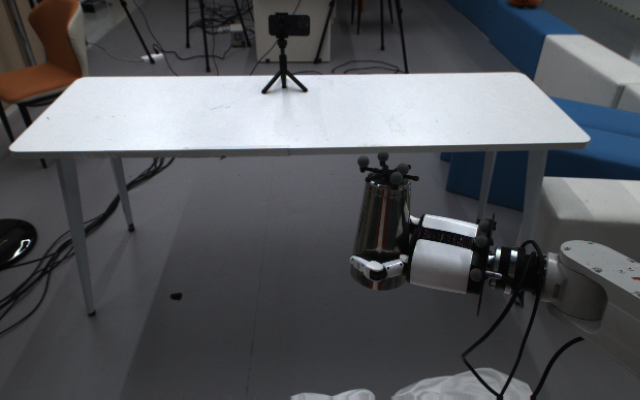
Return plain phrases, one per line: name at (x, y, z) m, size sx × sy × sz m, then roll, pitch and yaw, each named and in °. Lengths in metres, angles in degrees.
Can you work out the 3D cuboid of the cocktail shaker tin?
cocktail shaker tin at (0.099, 0.043, 0.748) m, size 0.093 × 0.170 × 0.093 m, roll 1°, pitch 28°, yaw -1°
